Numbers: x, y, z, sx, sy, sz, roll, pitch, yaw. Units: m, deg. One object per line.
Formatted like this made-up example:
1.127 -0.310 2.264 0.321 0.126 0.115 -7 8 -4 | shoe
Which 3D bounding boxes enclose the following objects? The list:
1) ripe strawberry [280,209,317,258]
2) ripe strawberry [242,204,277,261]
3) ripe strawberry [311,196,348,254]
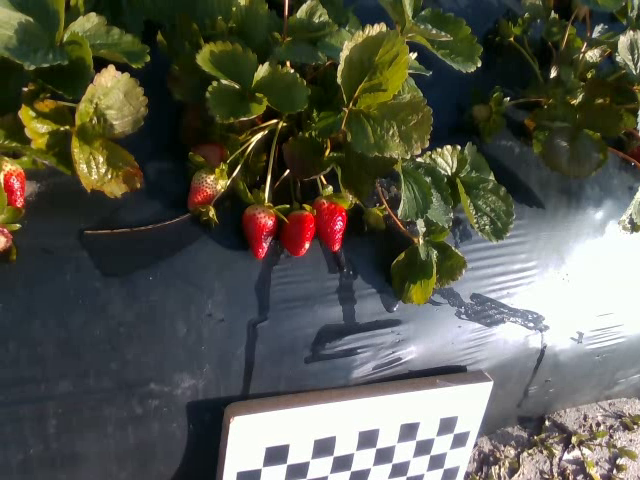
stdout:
-0.017 -0.004 0.478 0.030 0.039 0.037 9 -45 -25 | ripe strawberry
-0.046 -0.005 0.474 0.031 0.046 0.023 -1 9 -21 | ripe strawberry
0.008 -0.006 0.492 0.035 0.041 0.034 -5 -26 -19 | ripe strawberry
